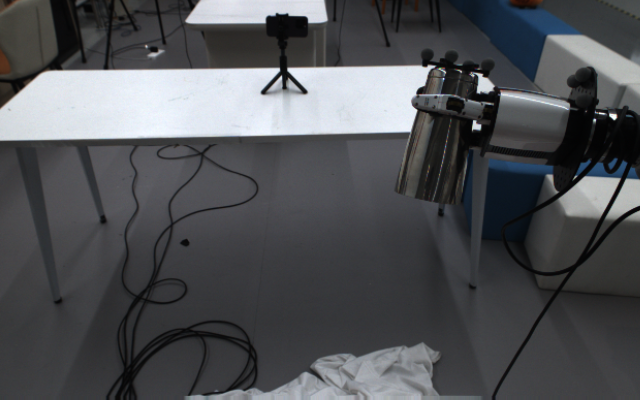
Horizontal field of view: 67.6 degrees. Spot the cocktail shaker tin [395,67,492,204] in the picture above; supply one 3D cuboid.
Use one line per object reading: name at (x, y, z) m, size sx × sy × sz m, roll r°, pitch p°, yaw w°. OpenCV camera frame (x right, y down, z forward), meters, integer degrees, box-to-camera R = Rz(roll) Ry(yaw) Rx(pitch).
cocktail shaker tin at (0.167, -0.090, 0.661) m, size 0.093 × 0.170 × 0.093 m, roll 10°, pitch 9°, yaw -2°
